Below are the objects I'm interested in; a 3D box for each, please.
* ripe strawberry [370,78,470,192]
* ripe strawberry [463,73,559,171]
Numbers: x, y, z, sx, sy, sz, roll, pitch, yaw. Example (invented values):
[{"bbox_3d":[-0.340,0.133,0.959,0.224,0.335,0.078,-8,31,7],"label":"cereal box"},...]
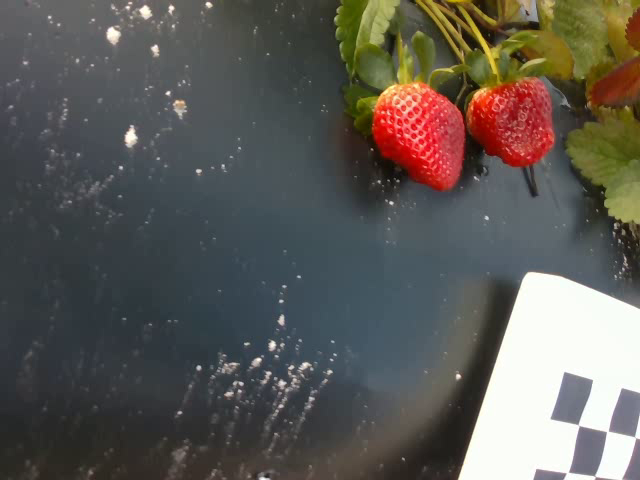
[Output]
[{"bbox_3d":[0.048,-0.044,0.257,0.050,0.061,0.045,7,-34,-25],"label":"ripe strawberry"},{"bbox_3d":[0.102,-0.061,0.292,0.042,0.053,0.034,1,-28,-25],"label":"ripe strawberry"}]
